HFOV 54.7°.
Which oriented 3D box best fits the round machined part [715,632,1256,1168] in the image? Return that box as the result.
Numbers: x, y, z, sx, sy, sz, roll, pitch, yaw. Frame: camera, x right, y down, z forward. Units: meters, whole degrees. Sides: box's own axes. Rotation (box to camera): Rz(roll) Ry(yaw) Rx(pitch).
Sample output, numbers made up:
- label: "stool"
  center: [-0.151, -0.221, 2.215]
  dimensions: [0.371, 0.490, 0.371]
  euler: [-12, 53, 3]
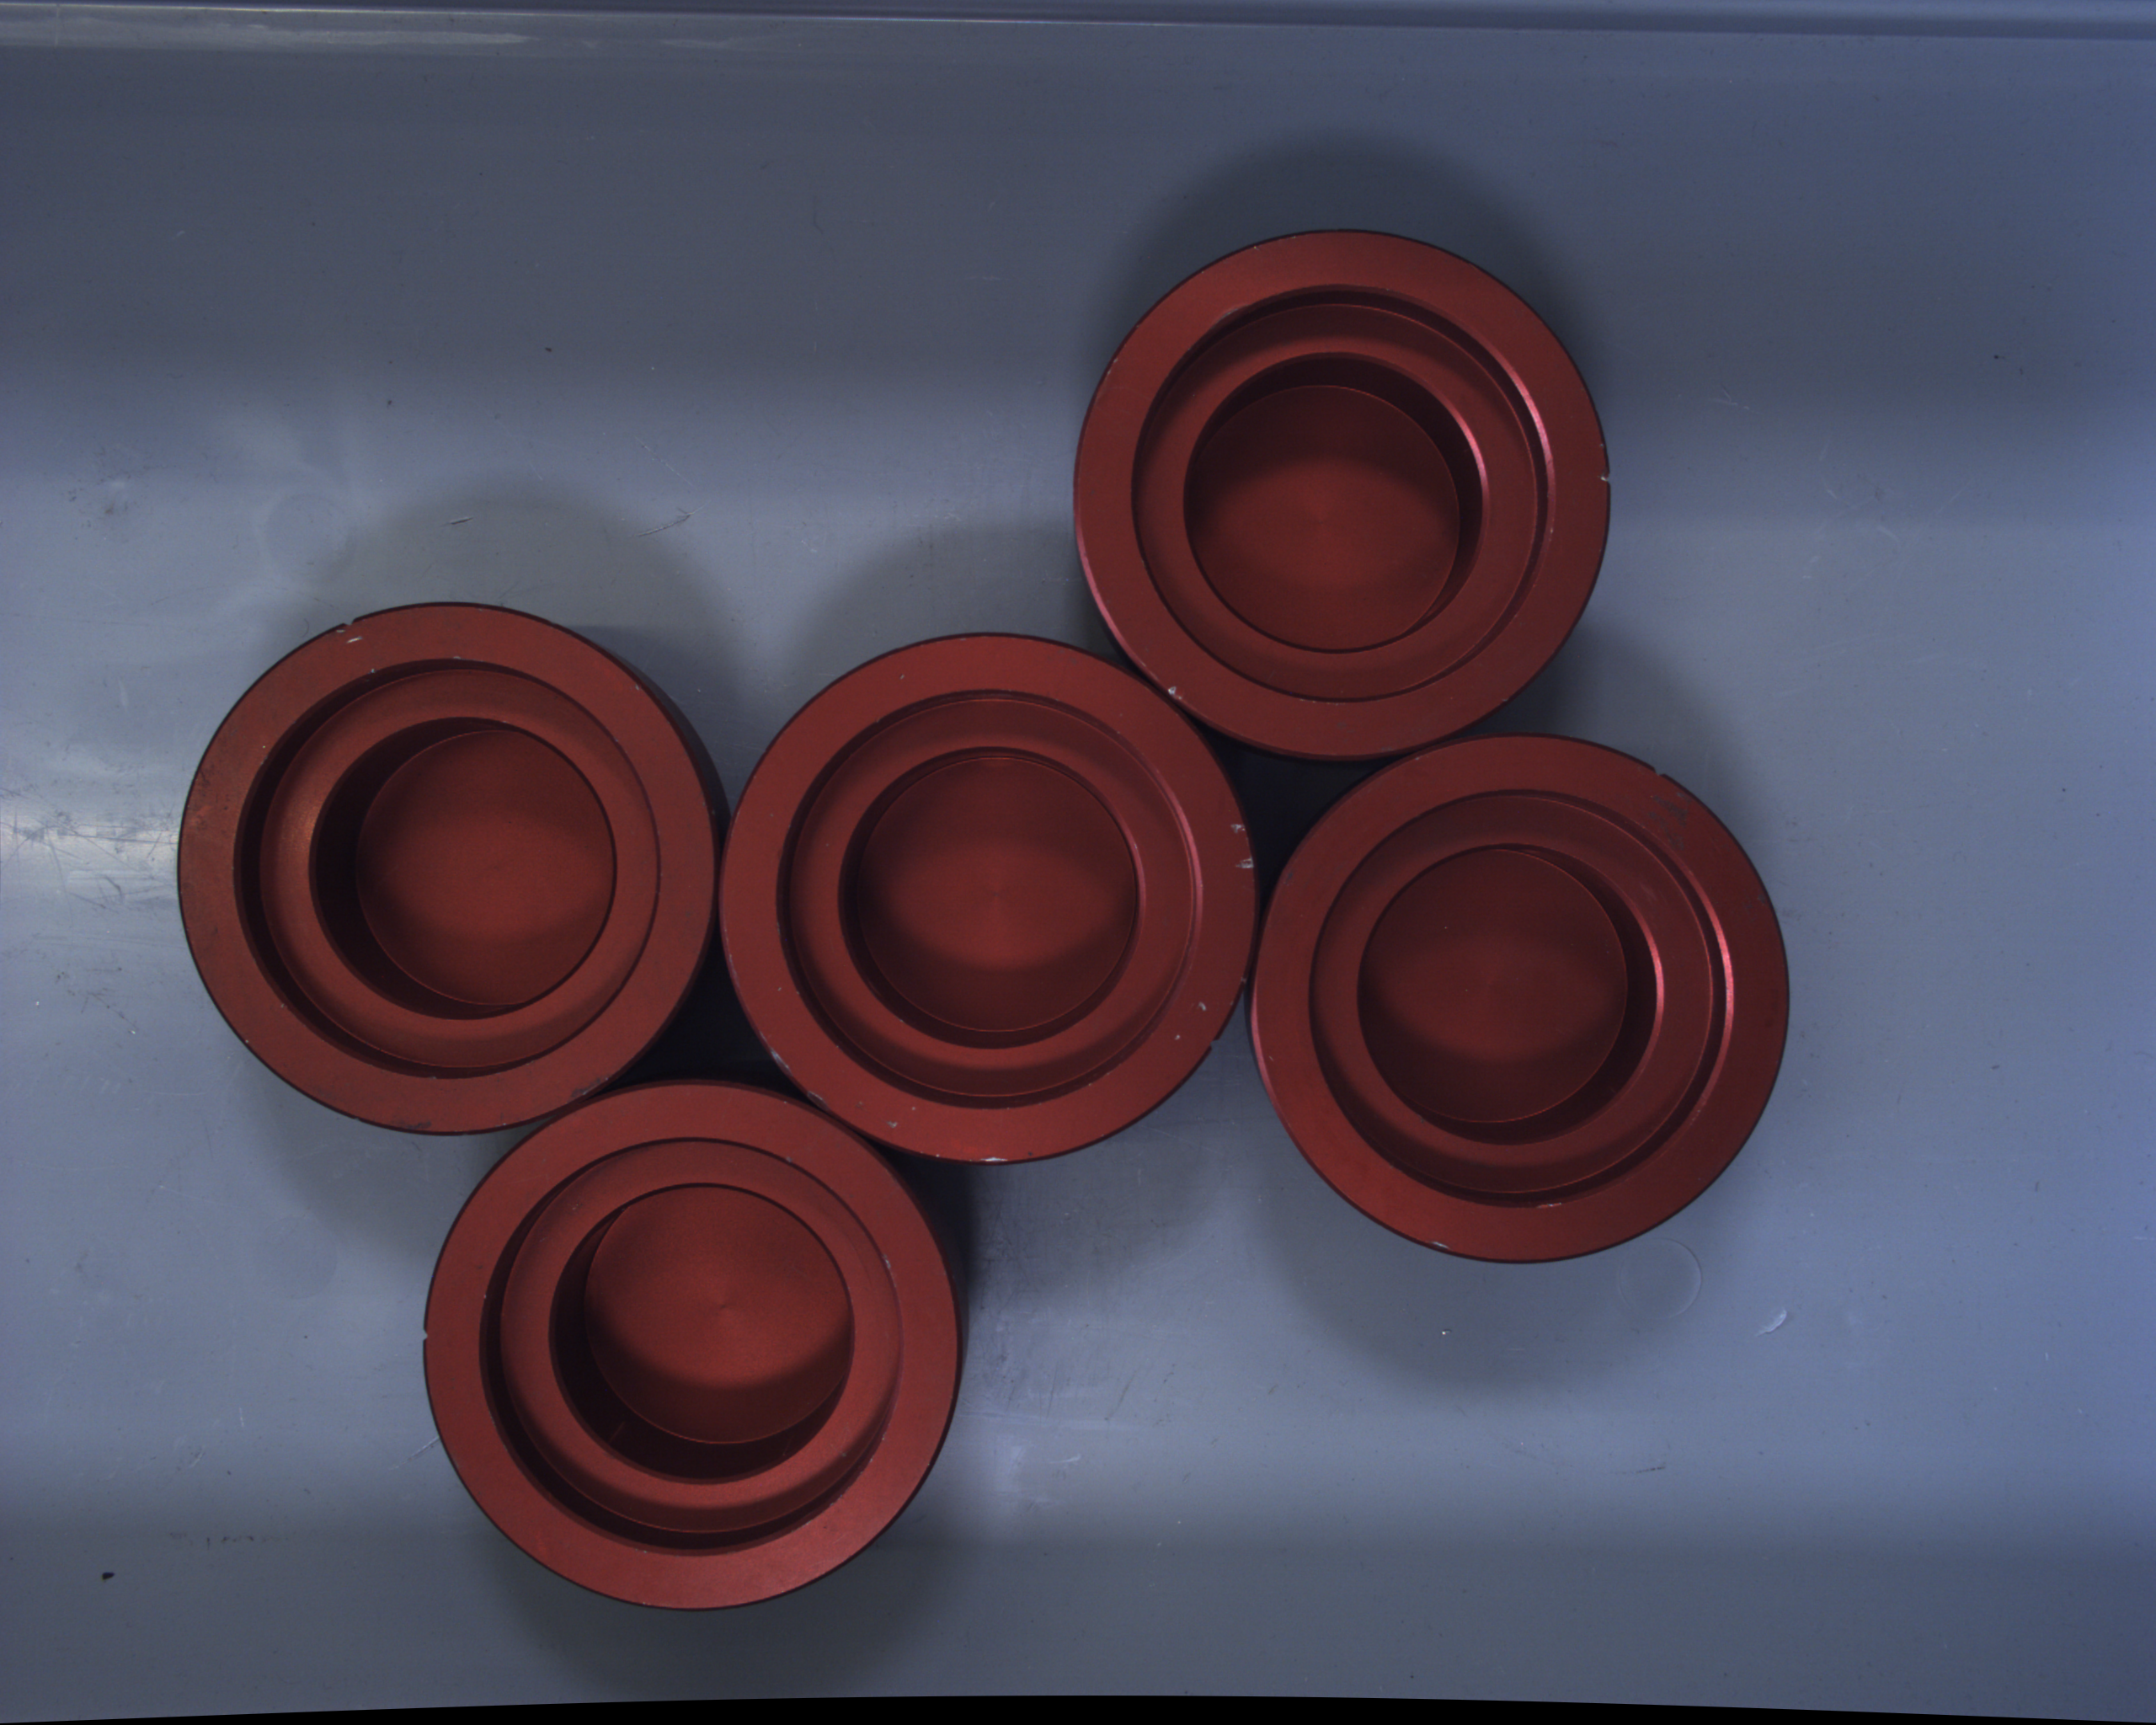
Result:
- label: "round machined part"
  center: [-0.017, 0.007, 0.399]
  dimensions: [0.099, 0.042, 0.097]
  euler: [0, 90, 0]

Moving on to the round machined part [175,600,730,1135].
- label: "round machined part"
  center: [-0.115, 0.001, 0.400]
  dimensions: [0.099, 0.042, 0.097]
  euler: [0, 90, 0]

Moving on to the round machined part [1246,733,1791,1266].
- label: "round machined part"
  center: [0.081, 0.025, 0.401]
  dimensions: [0.099, 0.042, 0.097]
  euler: [0, 90, 0]

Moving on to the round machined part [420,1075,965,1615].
- label: "round machined part"
  center: [-0.070, 0.088, 0.399]
  dimensions: [0.099, 0.042, 0.097]
  euler: [0, 90, 0]

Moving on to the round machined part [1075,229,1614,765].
- label: "round machined part"
  center: [0.049, -0.067, 0.401]
  dimensions: [0.099, 0.042, 0.097]
  euler: [0, 90, 0]
